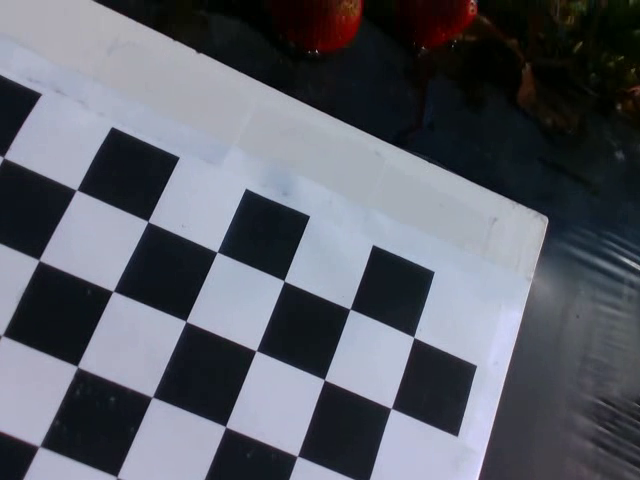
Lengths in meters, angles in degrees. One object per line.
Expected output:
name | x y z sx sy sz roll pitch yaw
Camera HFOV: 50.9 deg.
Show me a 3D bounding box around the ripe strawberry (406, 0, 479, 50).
ripe strawberry | 0.061 -0.120 0.351 0.044 0.042 0.055 -40 37 -18
